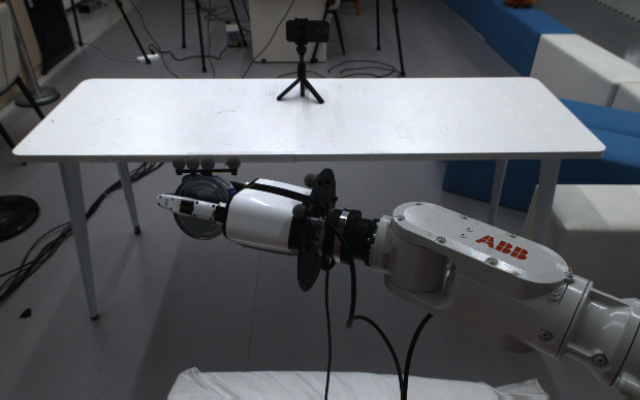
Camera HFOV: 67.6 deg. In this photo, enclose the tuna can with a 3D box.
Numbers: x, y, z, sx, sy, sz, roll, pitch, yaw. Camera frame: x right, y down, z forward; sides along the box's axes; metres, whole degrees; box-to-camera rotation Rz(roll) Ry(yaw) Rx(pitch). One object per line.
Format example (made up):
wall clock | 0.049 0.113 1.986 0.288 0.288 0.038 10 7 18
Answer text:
tuna can | -0.149 0.010 0.649 0.085 0.085 0.034 11 7 13
